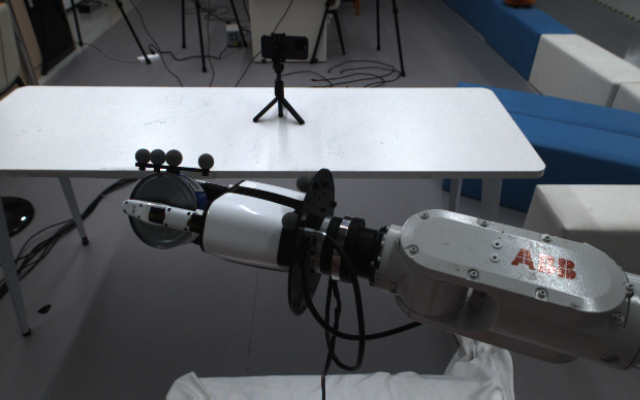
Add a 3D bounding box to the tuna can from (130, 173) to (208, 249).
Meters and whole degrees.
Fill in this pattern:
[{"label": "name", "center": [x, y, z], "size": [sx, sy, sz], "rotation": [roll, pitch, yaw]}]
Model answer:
[{"label": "tuna can", "center": [-0.169, 0.011, 0.551], "size": [0.085, 0.085, 0.034], "rotation": [11, 3, 13]}]
